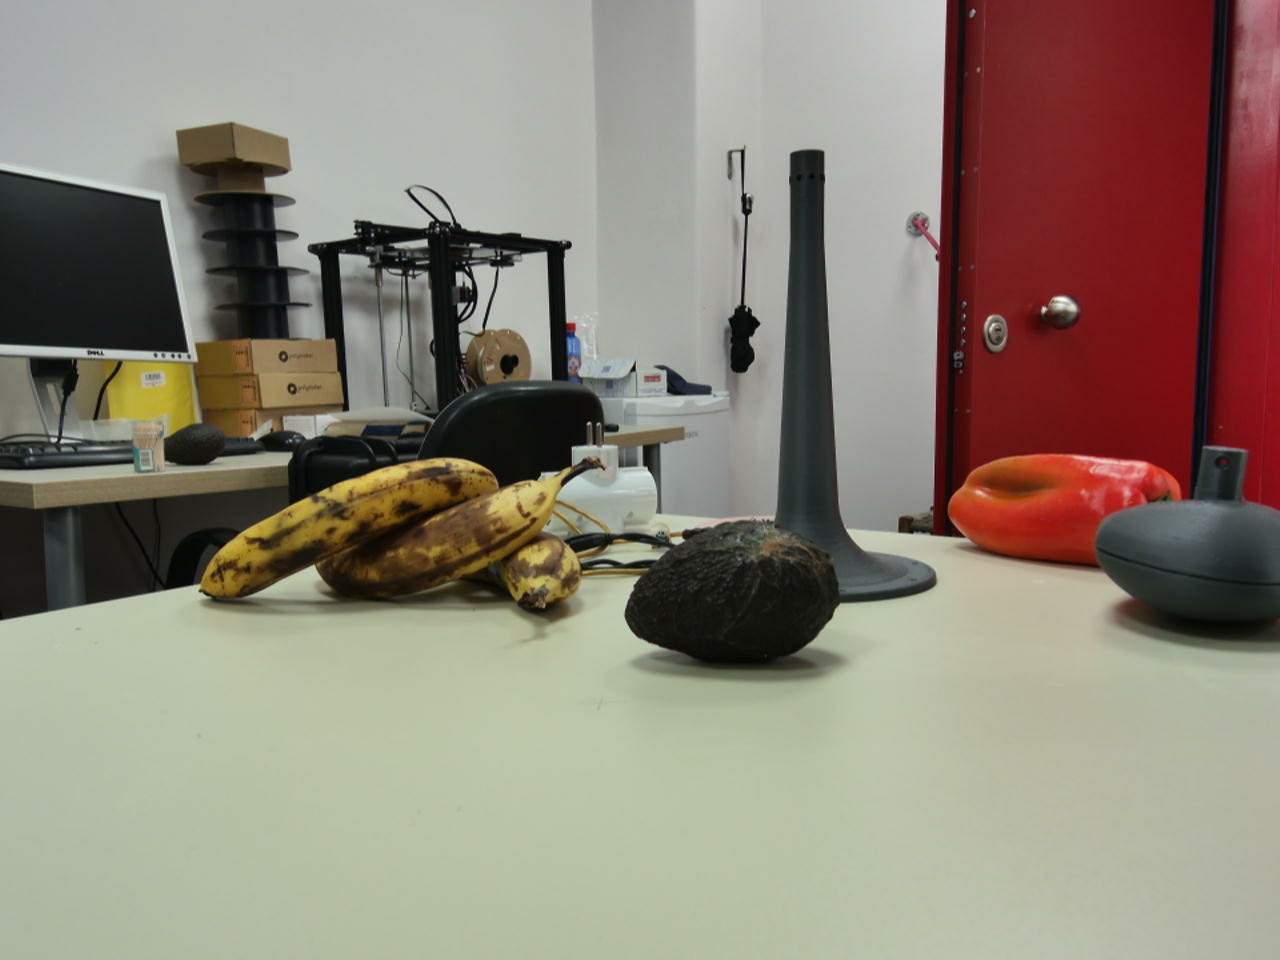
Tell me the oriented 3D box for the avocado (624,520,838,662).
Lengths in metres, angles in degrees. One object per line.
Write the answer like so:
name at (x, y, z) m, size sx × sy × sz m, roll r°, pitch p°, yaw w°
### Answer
avocado at (0.041, 0.048, 0.443) m, size 0.092 × 0.062 × 0.062 m, roll 2°, pitch 4°, yaw 13°
